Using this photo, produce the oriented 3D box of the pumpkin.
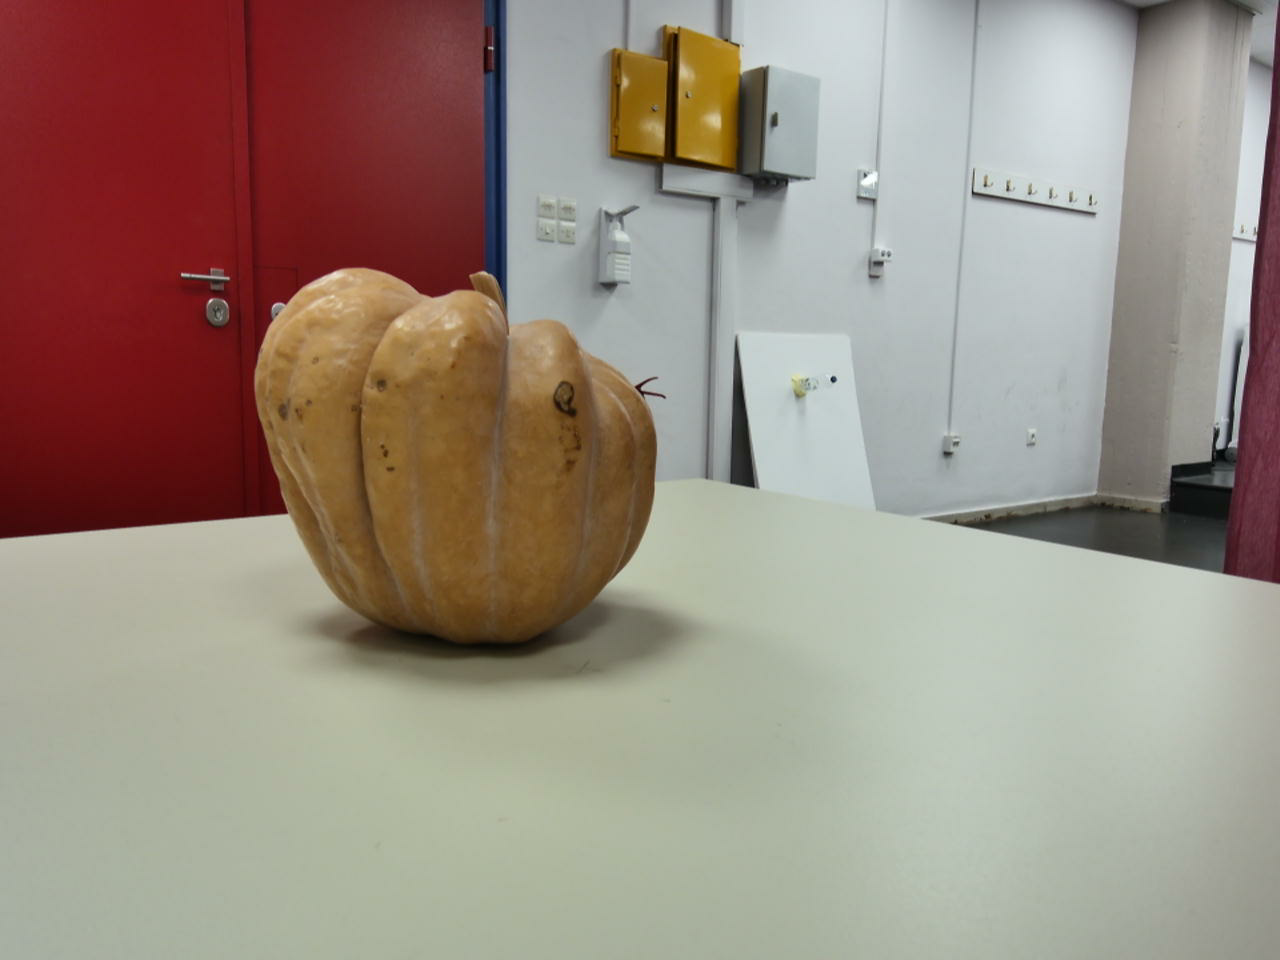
[{"bbox_3d":[-0.088,-0.012,0.491,0.199,0.177,0.198,1,6,0],"label":"pumpkin"}]
